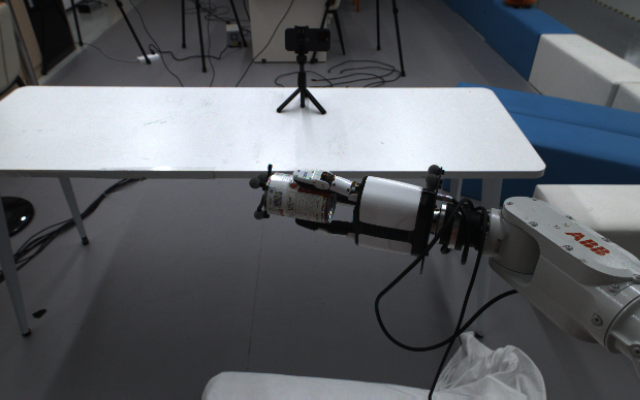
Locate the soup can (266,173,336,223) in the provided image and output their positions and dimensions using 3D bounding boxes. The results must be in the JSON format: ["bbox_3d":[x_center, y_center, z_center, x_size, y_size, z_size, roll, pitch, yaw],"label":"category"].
[{"bbox_3d":[-0.027,-0.003,0.751,0.101,0.067,0.067,10,35,10],"label":"soup can"}]
